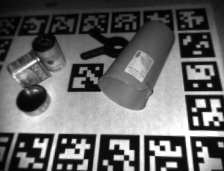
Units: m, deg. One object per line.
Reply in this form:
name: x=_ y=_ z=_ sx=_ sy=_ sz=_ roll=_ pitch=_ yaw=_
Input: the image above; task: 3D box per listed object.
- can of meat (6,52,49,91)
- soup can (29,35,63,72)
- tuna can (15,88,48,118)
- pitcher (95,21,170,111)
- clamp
can of meat: x=-0.252 y=-0.036 z=0.638 sx=0.084 sy=0.102 sz=0.057 roll=-35 pitch=64 yaw=-7
soup can: x=-0.201 y=-0.096 z=0.668 sx=0.067 sy=0.103 sz=0.067 roll=-4 pitch=63 yaw=9
tuna can: x=-0.233 y=0.052 z=0.631 sx=0.085 sy=0.034 sz=0.085 roll=-2 pitch=64 yaw=6
pitcher: x=0.060 y=-0.063 z=0.597 sx=0.186 sy=0.135 sz=0.243 roll=8 pitch=54 yaw=36
clamp: x=-0.037 y=-0.131 z=0.714 sx=0.165 sy=0.037 sz=0.121 roll=3 pitch=59 yaw=4
